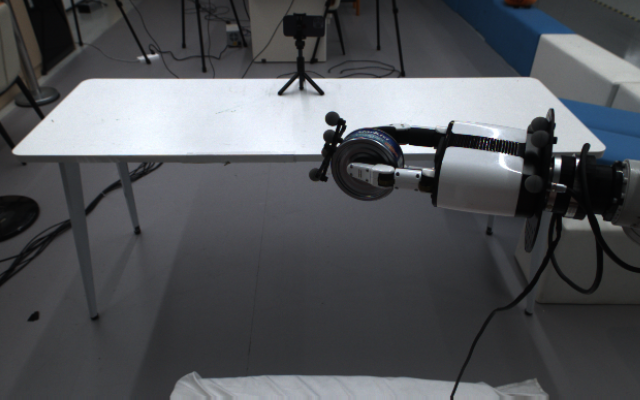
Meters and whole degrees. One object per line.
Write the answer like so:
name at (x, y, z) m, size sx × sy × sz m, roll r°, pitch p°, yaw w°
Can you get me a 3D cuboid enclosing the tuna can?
tuna can at (0.060, -0.045, 0.593) m, size 0.085 × 0.085 × 0.034 m, roll 12°, pitch 30°, yaw 14°
